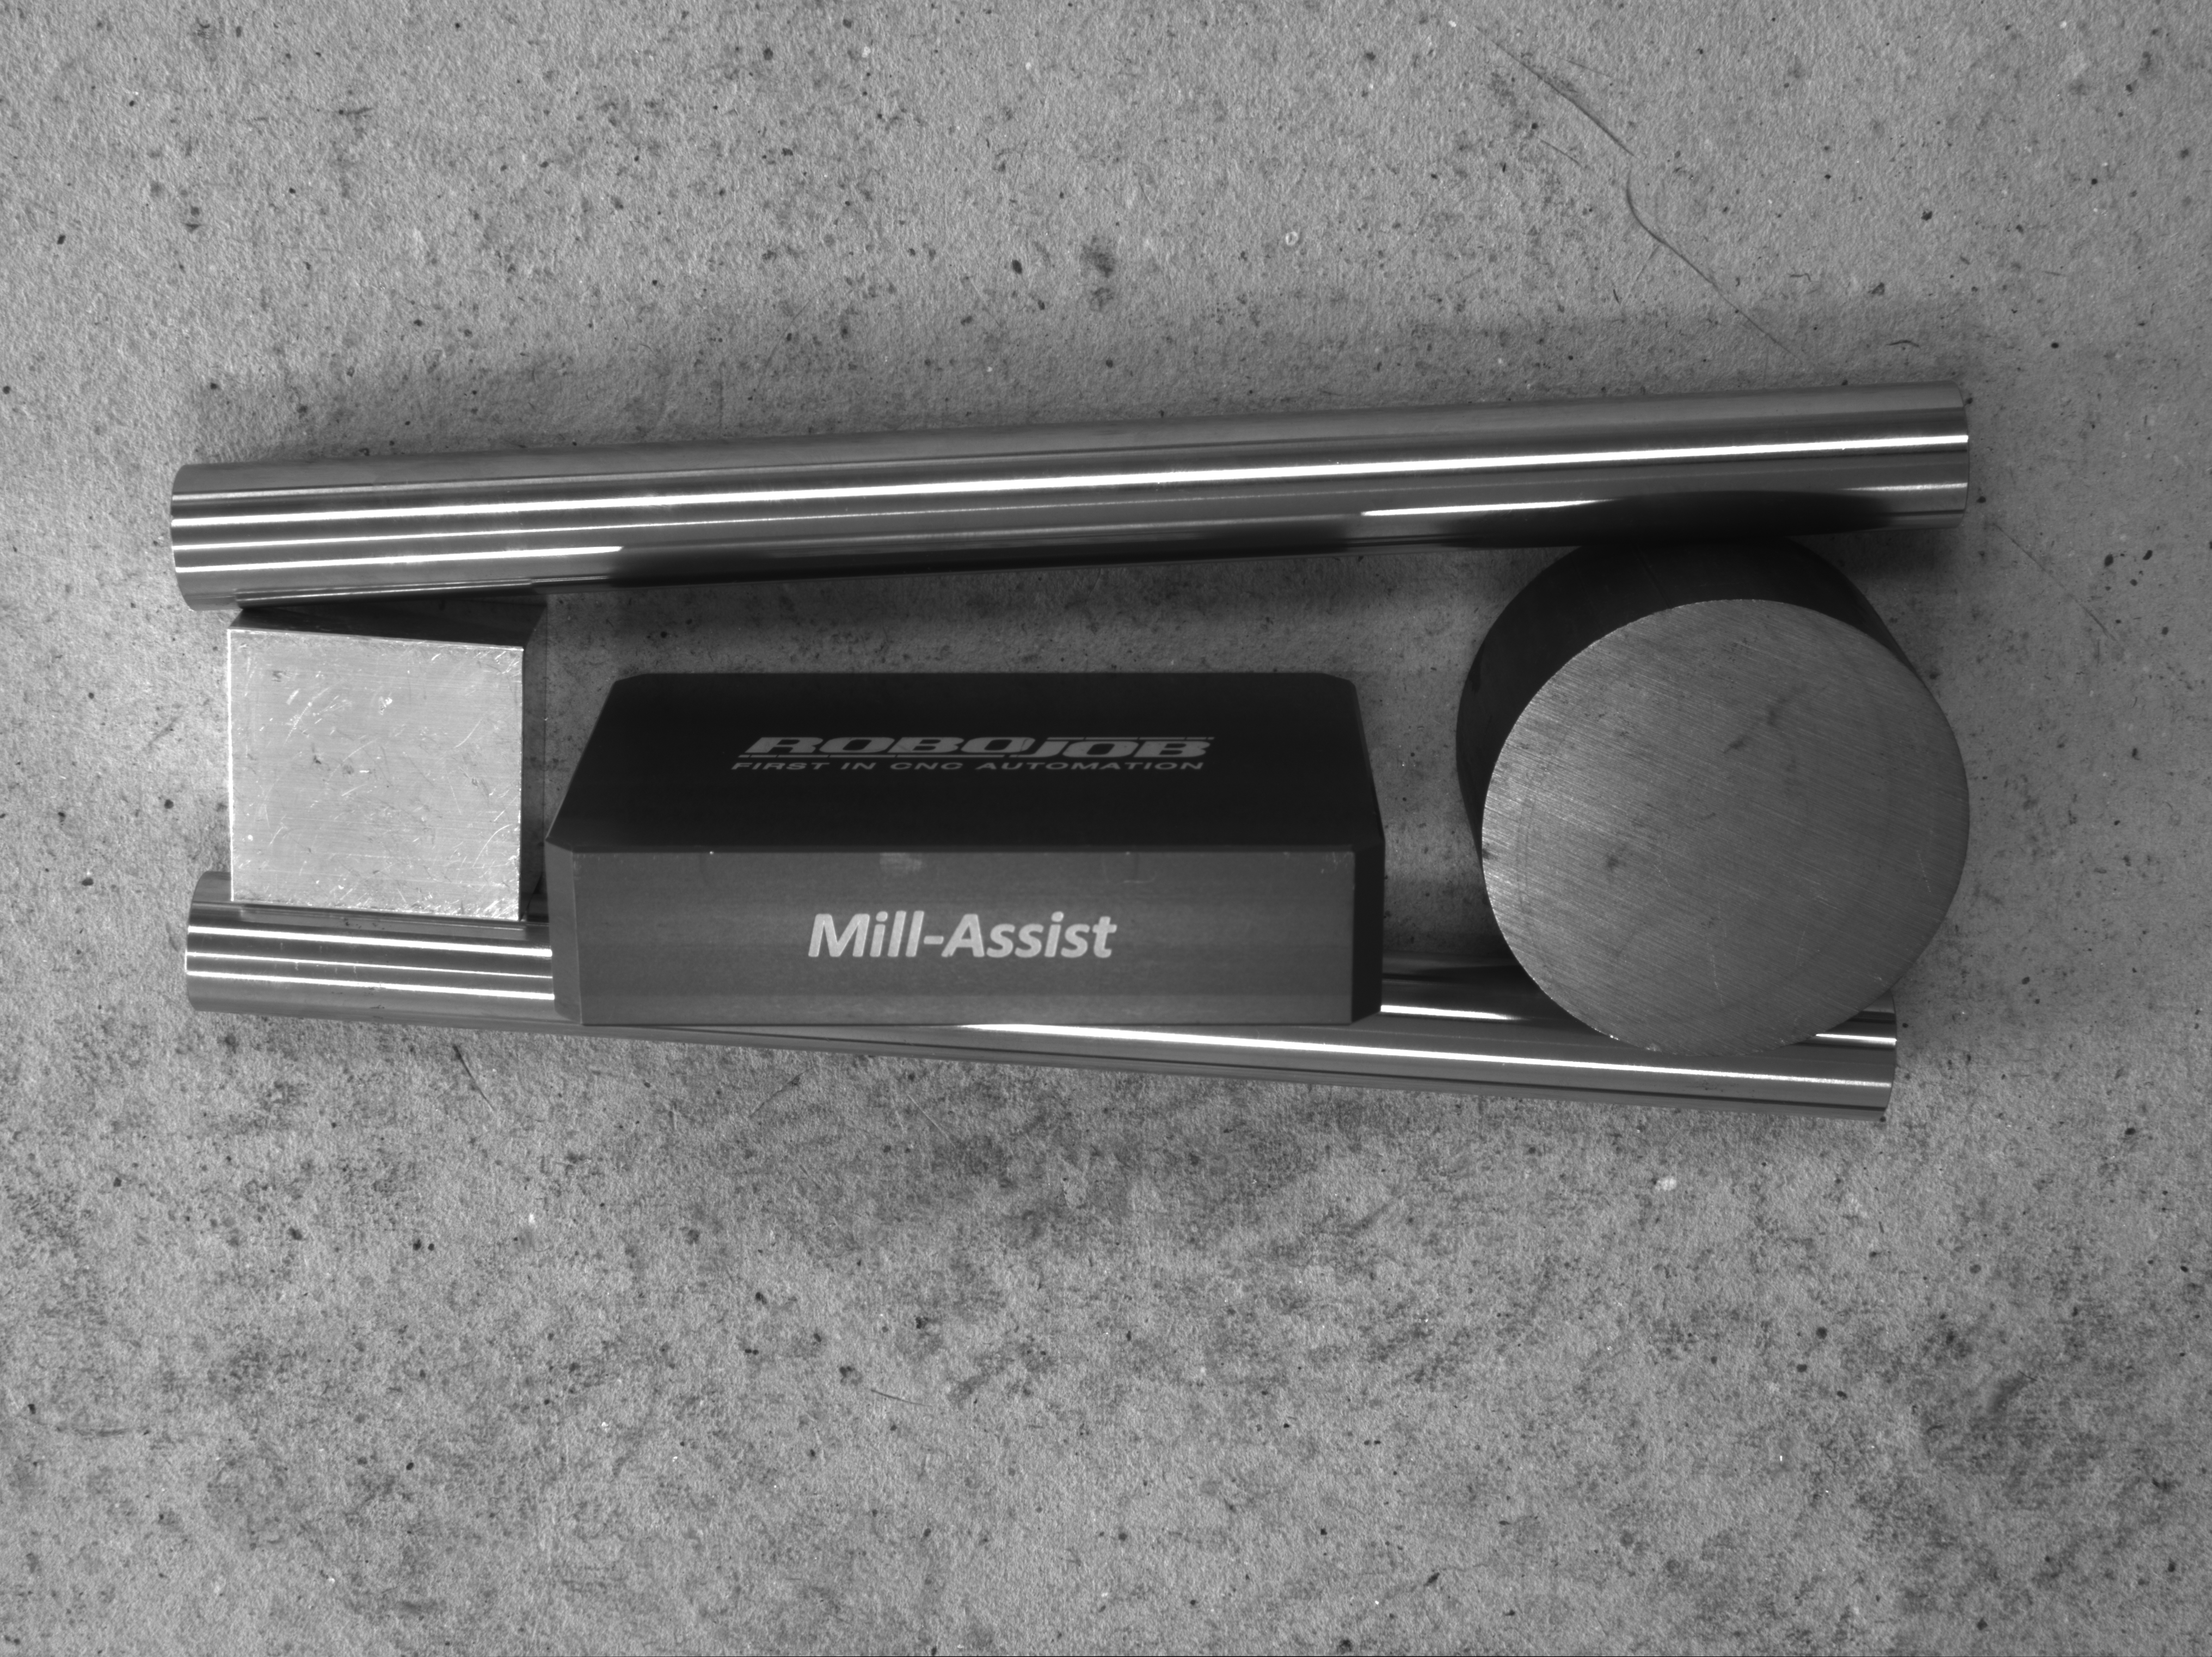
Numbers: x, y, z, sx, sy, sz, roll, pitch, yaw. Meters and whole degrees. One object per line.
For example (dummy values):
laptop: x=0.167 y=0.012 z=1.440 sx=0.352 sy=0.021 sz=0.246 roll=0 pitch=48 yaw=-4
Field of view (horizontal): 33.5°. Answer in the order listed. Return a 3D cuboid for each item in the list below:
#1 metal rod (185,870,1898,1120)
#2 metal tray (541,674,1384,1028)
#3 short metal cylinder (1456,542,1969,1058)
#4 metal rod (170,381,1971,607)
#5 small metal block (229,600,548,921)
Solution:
metal rod: x=-0.011 y=0.030 z=0.655 sx=0.300 sy=0.025 sz=0.025 roll=4 pitch=110 yaw=-1
metal tray: x=-0.022 y=0.002 z=0.609 sx=0.130 sy=0.090 sz=0.030 roll=0 pitch=110 yaw=0
short metal cylinder: x=0.102 y=-0.008 z=0.628 sx=0.080 sy=0.050 sz=0.080 roll=0 pitch=110 yaw=0
metal rod: x=-0.006 y=-0.057 z=0.624 sx=0.300 sy=0.025 sz=0.025 roll=-3 pitch=110 yaw=1
small metal block: x=-0.125 y=-0.013 z=0.640 sx=0.050 sy=0.025 sz=0.050 roll=4 pitch=110 yaw=-1
